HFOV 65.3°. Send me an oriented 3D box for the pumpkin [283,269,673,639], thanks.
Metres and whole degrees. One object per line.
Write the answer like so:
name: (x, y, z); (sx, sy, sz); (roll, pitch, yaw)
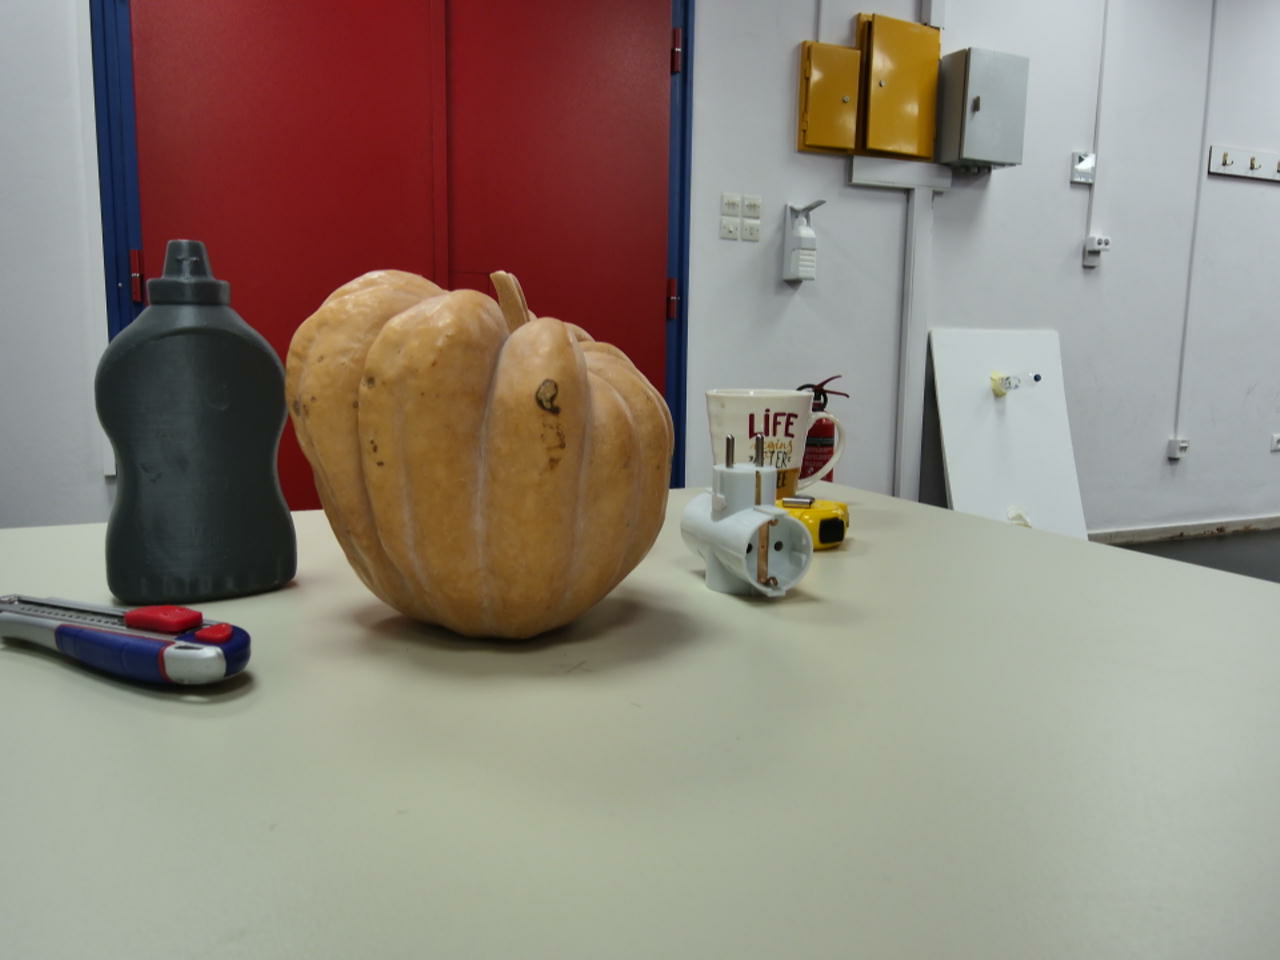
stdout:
pumpkin: (-0.078, -0.015, 0.498); (0.199, 0.177, 0.198); (1, 7, 0)
